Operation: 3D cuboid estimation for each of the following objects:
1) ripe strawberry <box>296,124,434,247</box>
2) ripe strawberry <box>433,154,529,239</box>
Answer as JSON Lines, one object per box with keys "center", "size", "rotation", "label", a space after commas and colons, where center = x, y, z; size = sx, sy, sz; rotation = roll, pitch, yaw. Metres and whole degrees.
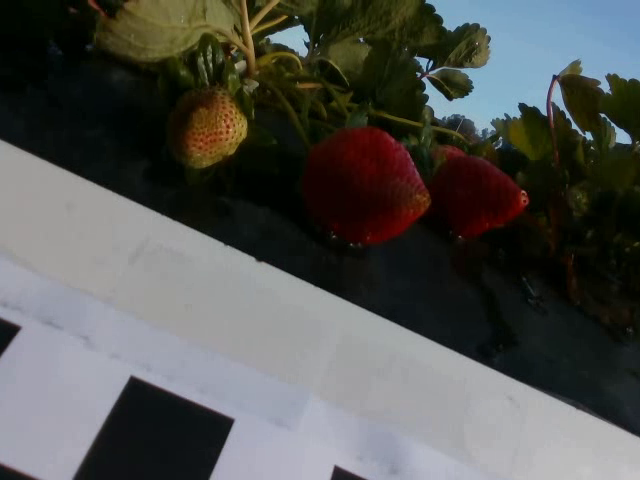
{"center": [0.021, -0.022, 0.220], "size": [0.050, 0.050, 0.065], "rotation": [-12, 13, -23], "label": "ripe strawberry"}
{"center": [0.075, -0.019, 0.287], "size": [0.045, 0.042, 0.055], "rotation": [-37, 29, -31], "label": "ripe strawberry"}
